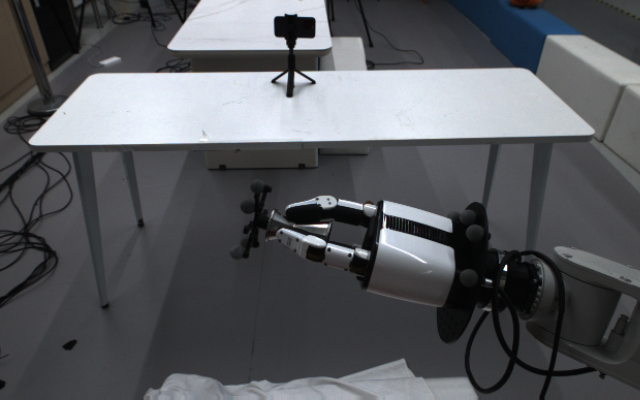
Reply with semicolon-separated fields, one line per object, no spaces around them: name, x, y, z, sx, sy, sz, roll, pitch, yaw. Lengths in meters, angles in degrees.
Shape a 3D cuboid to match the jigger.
jigger;-0.017;0.034;0.550;0.071;0.043;0.043;14;36;5
